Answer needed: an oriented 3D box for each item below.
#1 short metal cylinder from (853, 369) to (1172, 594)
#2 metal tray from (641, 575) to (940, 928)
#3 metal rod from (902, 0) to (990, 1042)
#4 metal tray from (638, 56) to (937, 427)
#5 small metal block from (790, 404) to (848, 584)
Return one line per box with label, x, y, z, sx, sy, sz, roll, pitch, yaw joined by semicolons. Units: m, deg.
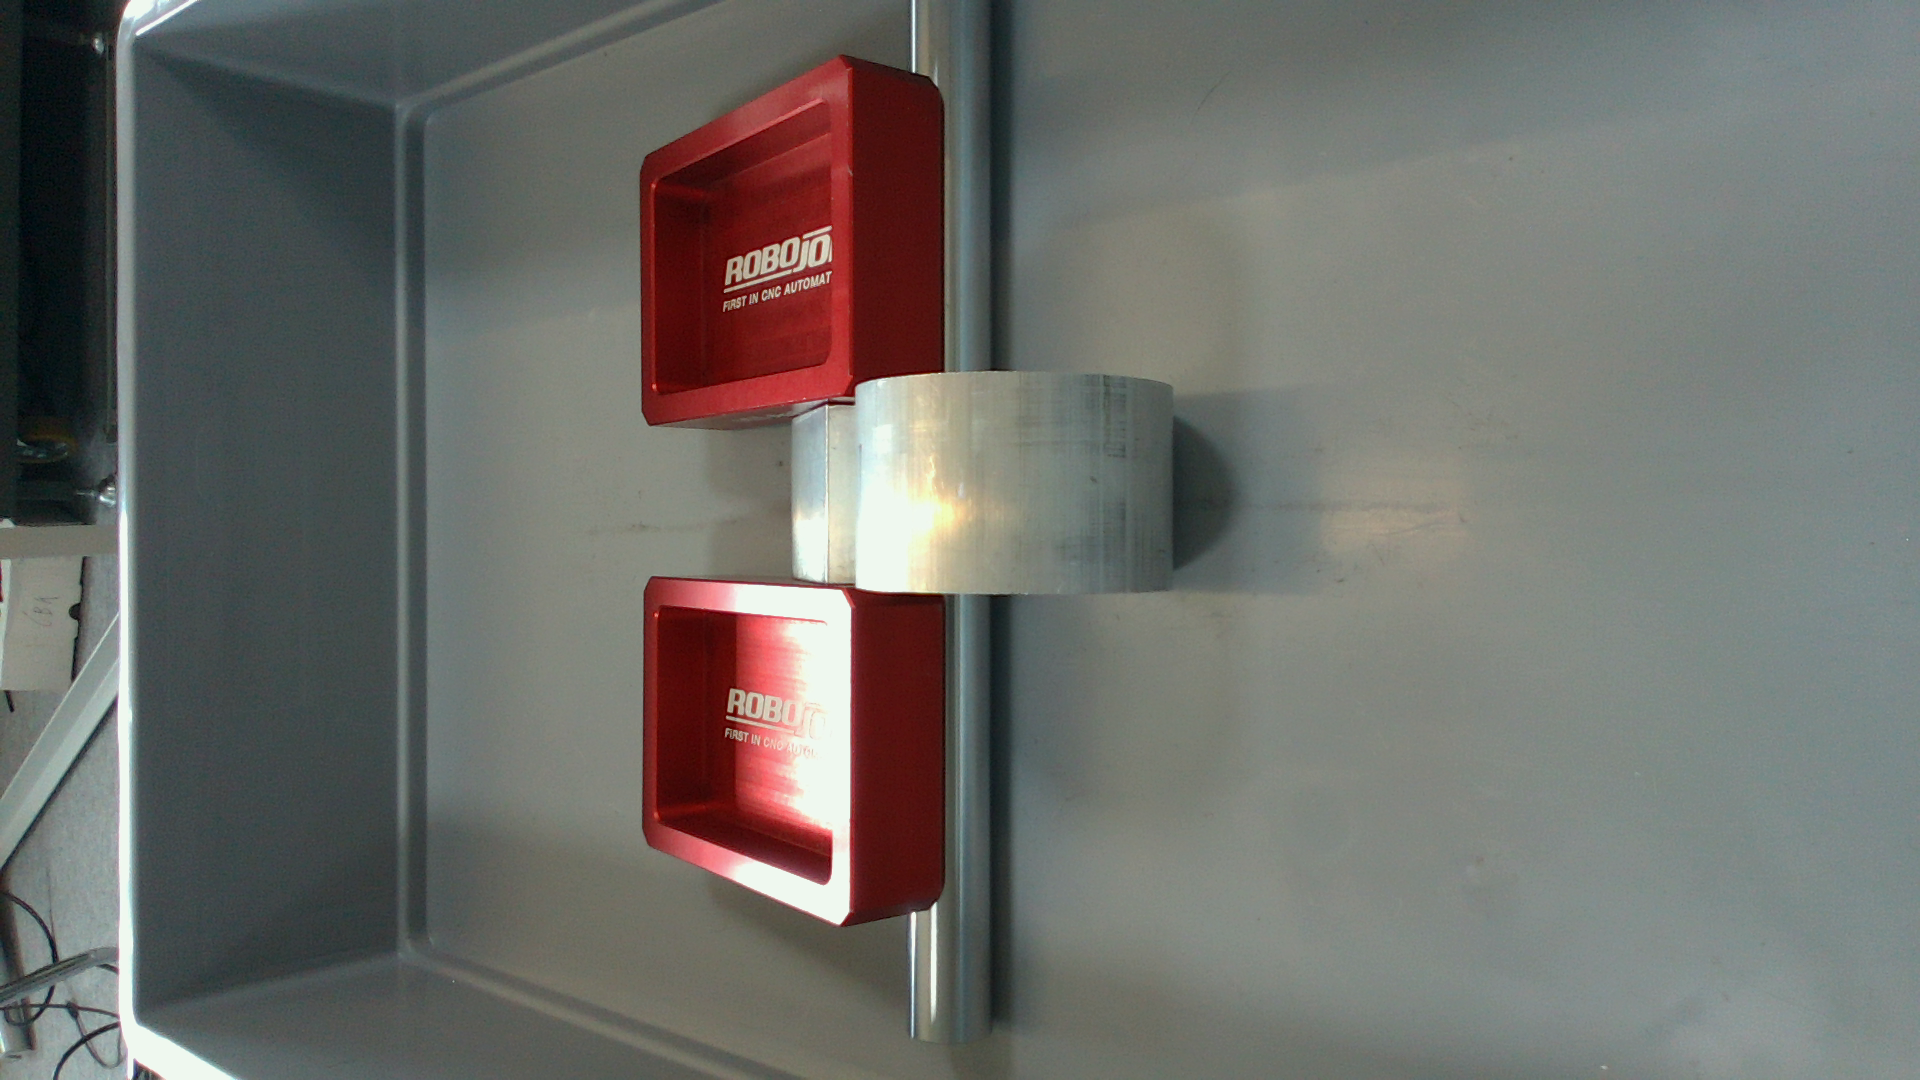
short metal cylinder;0.013;-0.013;0.346;0.080;0.080;0.050;0;90;40
metal tray;-0.056;0.057;0.419;0.129;0.030;0.090;1;91;53
metal rod;-0.004;-0.010;0.396;0.025;0.025;0.300;0;90;40
metal tray;-0.057;-0.083;0.420;0.129;0.030;0.090;0;90;53
small metal block;-0.033;-0.013;0.407;0.050;0.025;0.050;-178;88;-72
